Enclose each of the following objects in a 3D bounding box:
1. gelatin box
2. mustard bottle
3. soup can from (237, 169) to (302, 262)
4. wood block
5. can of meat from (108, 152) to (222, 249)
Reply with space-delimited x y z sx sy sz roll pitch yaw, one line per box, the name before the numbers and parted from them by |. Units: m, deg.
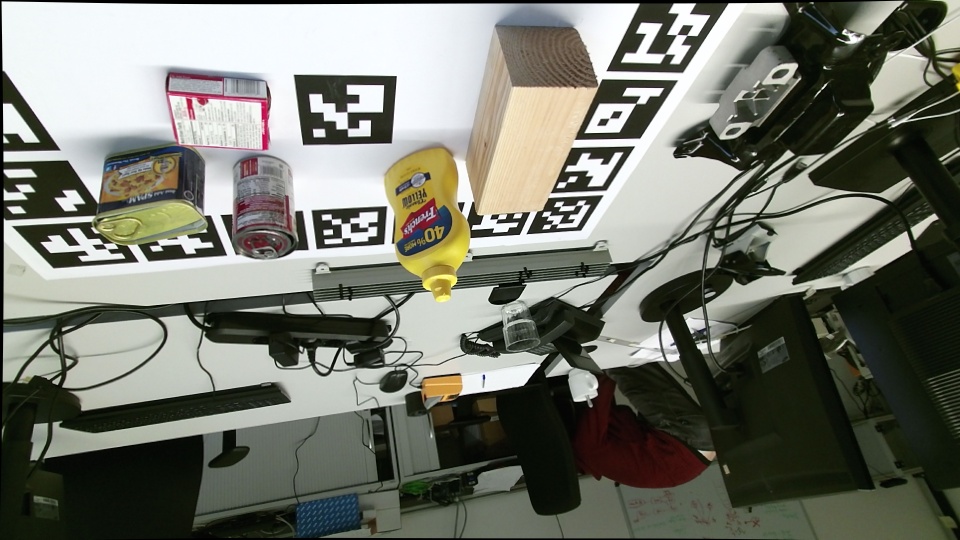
gelatin box | -0.252 -0.151 0.539 0.090 0.030 0.073 -1 147 -26
mustard bottle | -0.050 -0.051 0.654 0.096 0.190 0.058 -16 152 8
soup can | -0.245 -0.059 0.623 0.068 0.101 0.068 -11 150 -6
wood block | 0.055 -0.152 0.614 0.091 0.089 0.206 -3 154 -15
can of meat | -0.339 -0.078 0.587 0.102 0.083 0.058 -10 151 -2
